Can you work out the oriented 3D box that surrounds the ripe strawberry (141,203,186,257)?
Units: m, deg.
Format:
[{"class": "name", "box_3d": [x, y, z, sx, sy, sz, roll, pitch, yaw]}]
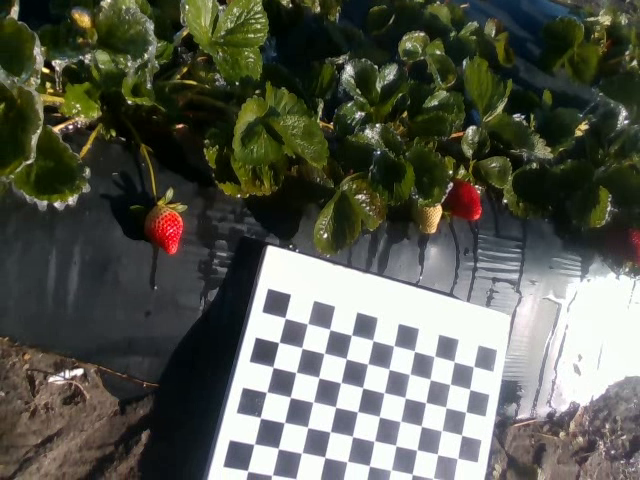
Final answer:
[{"class": "ripe strawberry", "box_3d": [-0.140, -0.007, 0.534, 0.039, 0.053, 0.041, -6, -21, -19]}]
